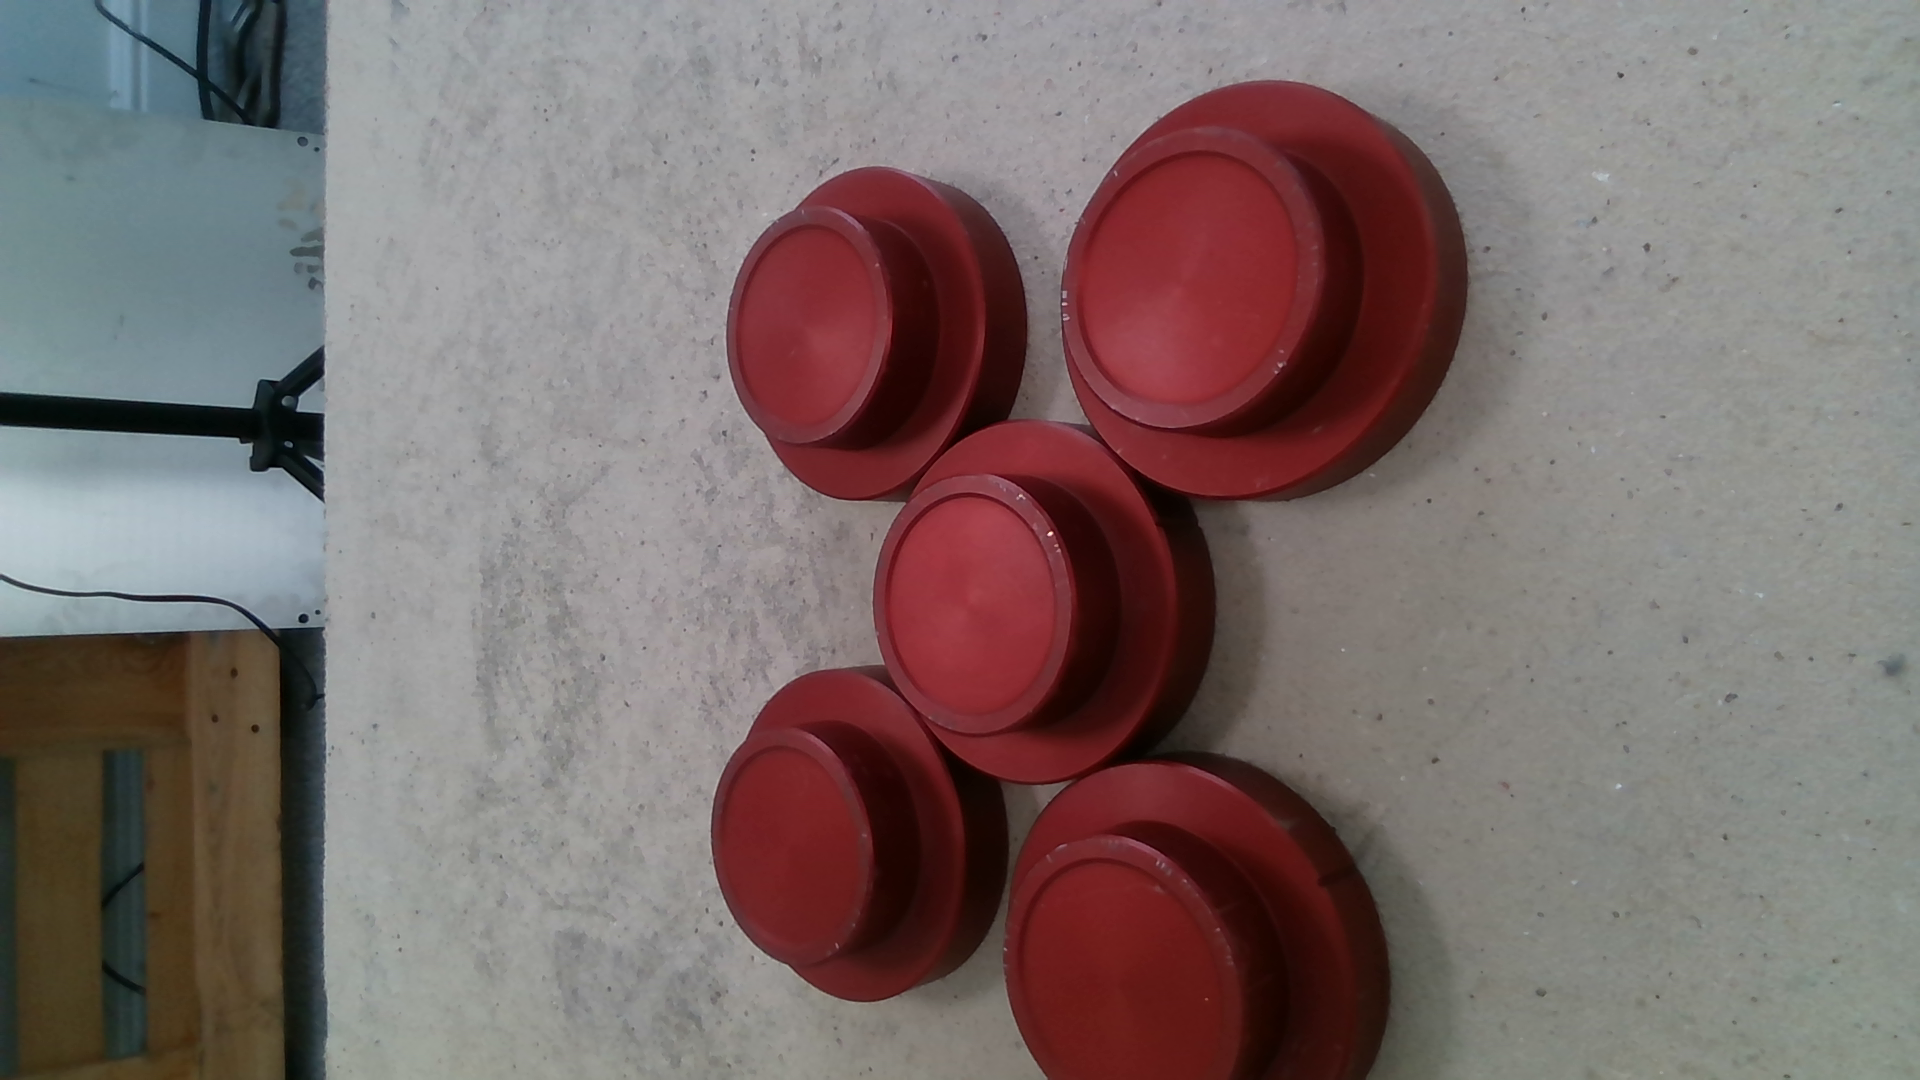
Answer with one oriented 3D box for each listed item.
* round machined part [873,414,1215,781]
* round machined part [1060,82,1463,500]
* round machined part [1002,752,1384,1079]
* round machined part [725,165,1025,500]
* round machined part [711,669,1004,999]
[{"bbox_3d":[0.015,0.015,0.367,0.098,0.042,0.098,-1,89,42],"label":"round machined part"},{"bbox_3d":[0.063,-0.058,0.326,0.098,0.042,0.098,0,91,40],"label":"round machined part"},{"bbox_3d":[0.049,0.103,0.339,0.098,0.042,0.098,-1,89,42],"label":"round machined part"},{"bbox_3d":[-0.032,-0.061,0.406,0.098,0.042,0.098,1,91,41],"label":"round machined part"},{"bbox_3d":[-0.037,0.088,0.412,0.098,0.042,0.098,-1,89,42],"label":"round machined part"}]
